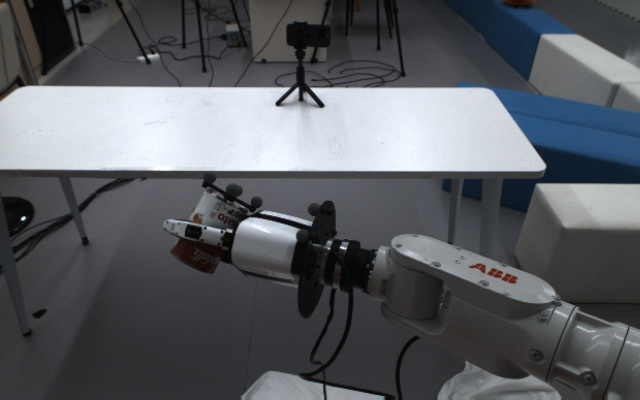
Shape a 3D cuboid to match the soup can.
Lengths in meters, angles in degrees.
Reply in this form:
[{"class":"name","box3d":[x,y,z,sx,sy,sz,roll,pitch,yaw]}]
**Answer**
[{"class":"soup can","box3d":[-0.153,0.044,0.675,0.067,0.101,0.067,29,-2,1]}]
